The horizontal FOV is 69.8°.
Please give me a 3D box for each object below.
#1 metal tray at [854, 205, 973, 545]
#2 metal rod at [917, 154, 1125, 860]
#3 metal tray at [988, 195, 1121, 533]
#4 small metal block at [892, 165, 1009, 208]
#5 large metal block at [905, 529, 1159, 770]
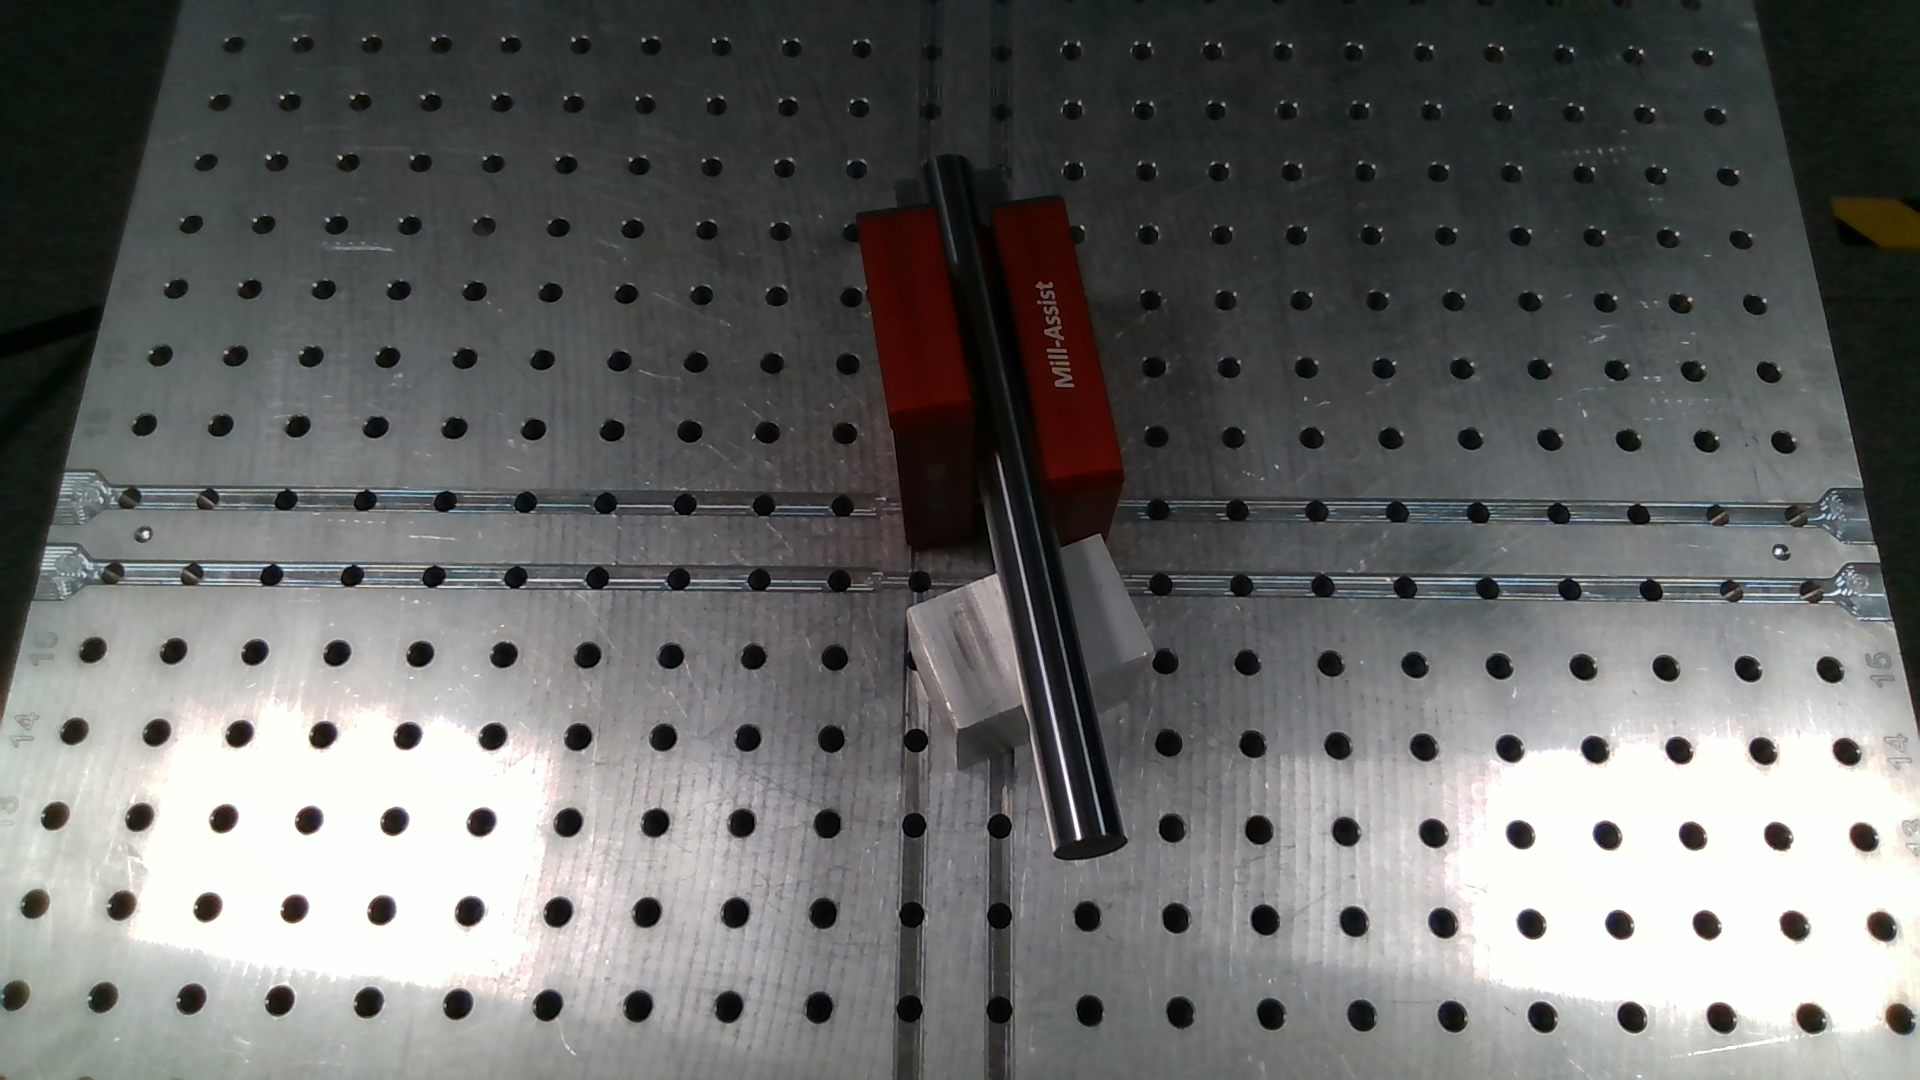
[{"bbox_3d":[-0.017,-0.062,0.557,0.030,0.130,0.090,-9,71,-3],"label":"metal tray"},{"bbox_3d":[0.017,-0.029,0.520,0.025,0.025,0.299,-9,61,-3],"label":"metal rod"},{"bbox_3d":[0.037,-0.066,0.579,0.030,0.090,0.130,-9,70,-2],"label":"metal tray"},{"bbox_3d":[-0.004,-0.142,0.628,0.050,0.050,0.025,-8,70,-3],"label":"small metal block"},{"bbox_3d":[0.026,0.046,0.544,0.080,0.080,0.050,-21,72,-7],"label":"large metal block"}]
